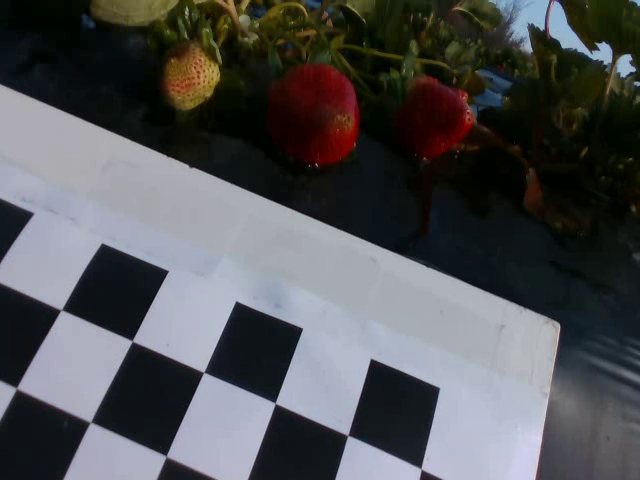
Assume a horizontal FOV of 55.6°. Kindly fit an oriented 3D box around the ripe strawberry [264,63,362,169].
[{"bbox_3d":[0.001,-0.060,0.273,0.050,0.050,0.065,-15,16,-13],"label":"ripe strawberry"}]

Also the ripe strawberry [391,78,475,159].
[{"bbox_3d":[0.065,-0.065,0.329,0.044,0.042,0.055,-39,27,-20],"label":"ripe strawberry"}]
